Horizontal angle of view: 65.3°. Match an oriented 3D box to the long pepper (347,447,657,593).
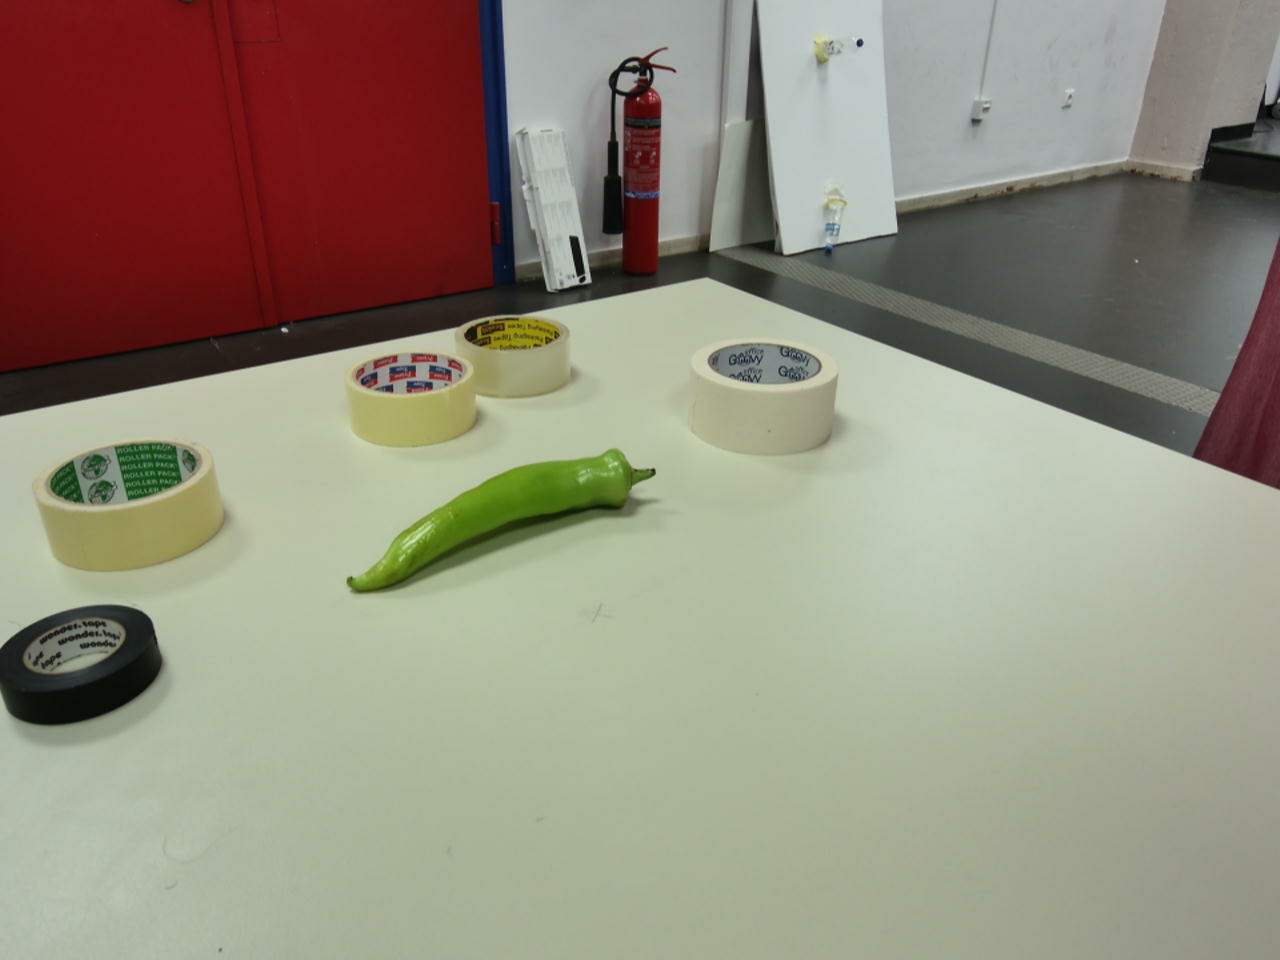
[{"bbox_3d":[-0.079,0.016,0.580,0.197,0.038,0.047,-16,31,-31],"label":"long pepper"}]
